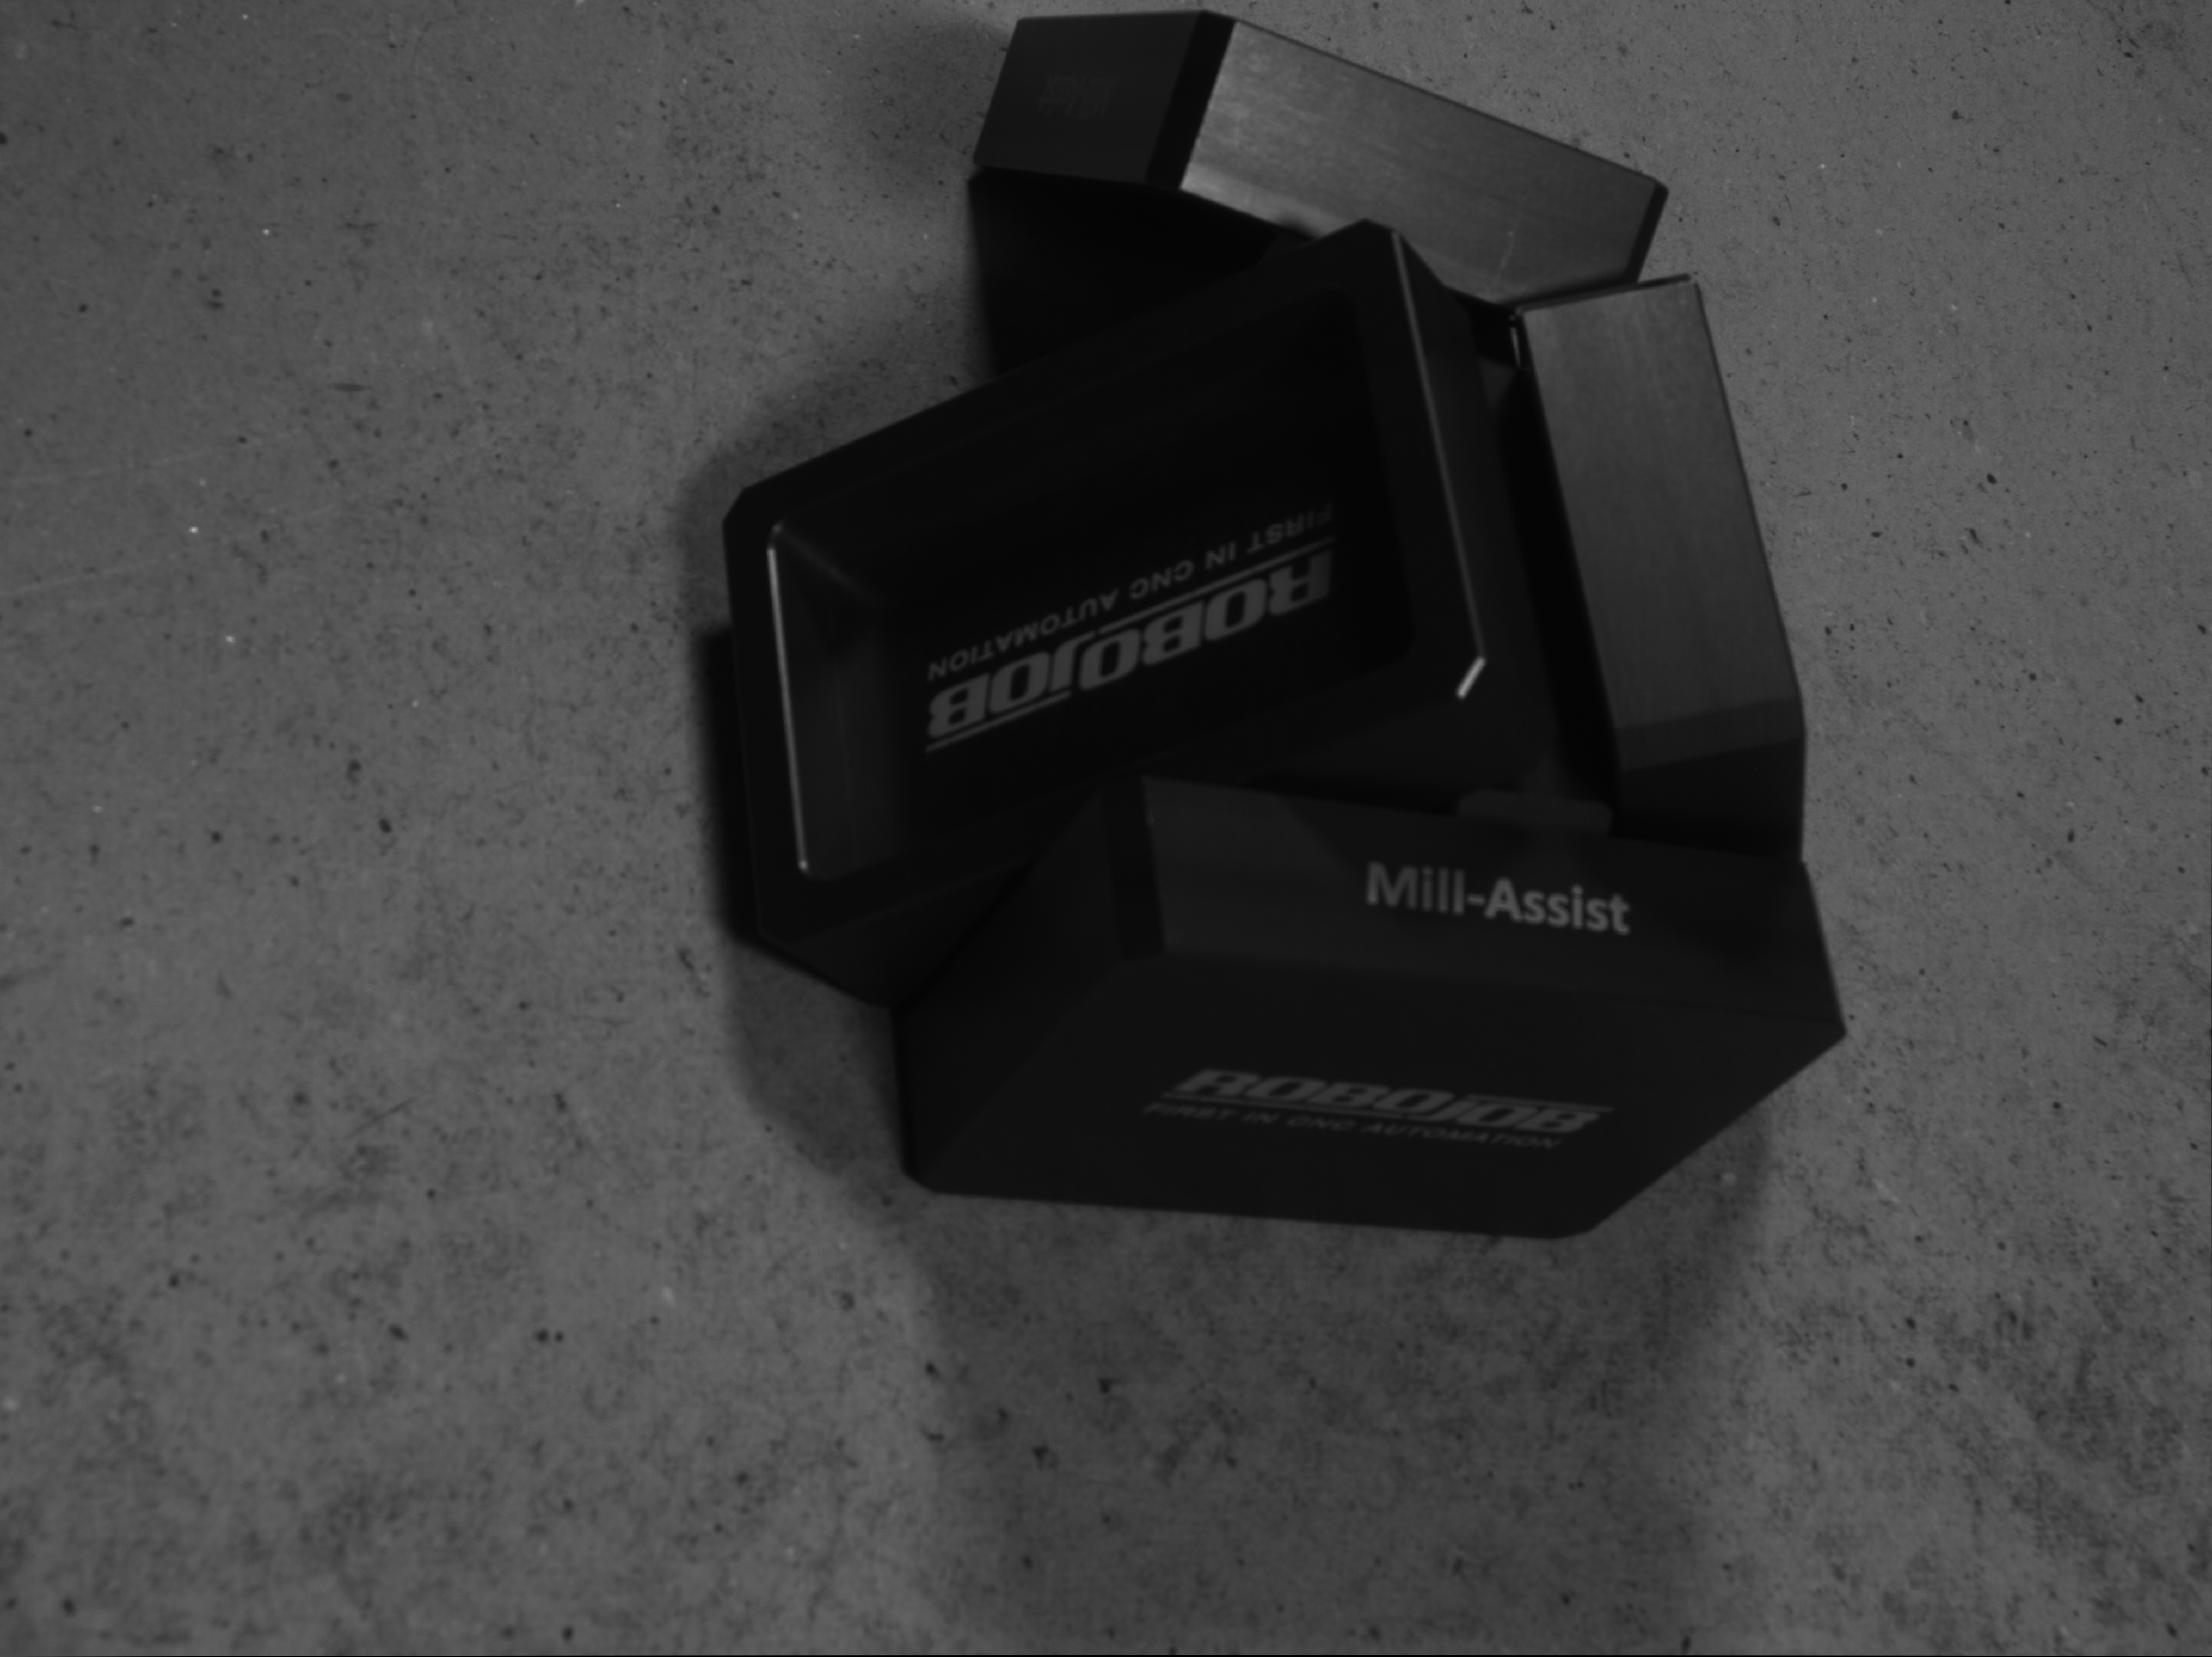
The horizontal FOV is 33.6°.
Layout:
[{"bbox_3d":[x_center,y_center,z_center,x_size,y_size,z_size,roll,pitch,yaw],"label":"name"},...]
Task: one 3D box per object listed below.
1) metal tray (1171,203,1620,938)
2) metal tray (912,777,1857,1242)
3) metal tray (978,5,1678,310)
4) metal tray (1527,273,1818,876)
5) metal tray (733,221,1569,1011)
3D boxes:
[{"bbox_3d":[0.044,-0.037,0.644,0.030,0.090,0.130,7,59,-24],"label":"metal tray"},{"bbox_3d":[0.044,0.033,0.601,0.130,0.090,0.030,7,58,-25],"label":"metal tray"},{"bbox_3d":[0.037,-0.121,0.674,0.090,0.130,0.030,16,96,-19],"label":"metal tray"},{"bbox_3d":[0.100,-0.024,0.644,0.030,0.130,0.090,-10,62,4],"label":"metal tray"},{"bbox_3d":[0.004,-0.033,0.600,0.030,0.130,0.090,37,39,-53],"label":"metal tray"}]
